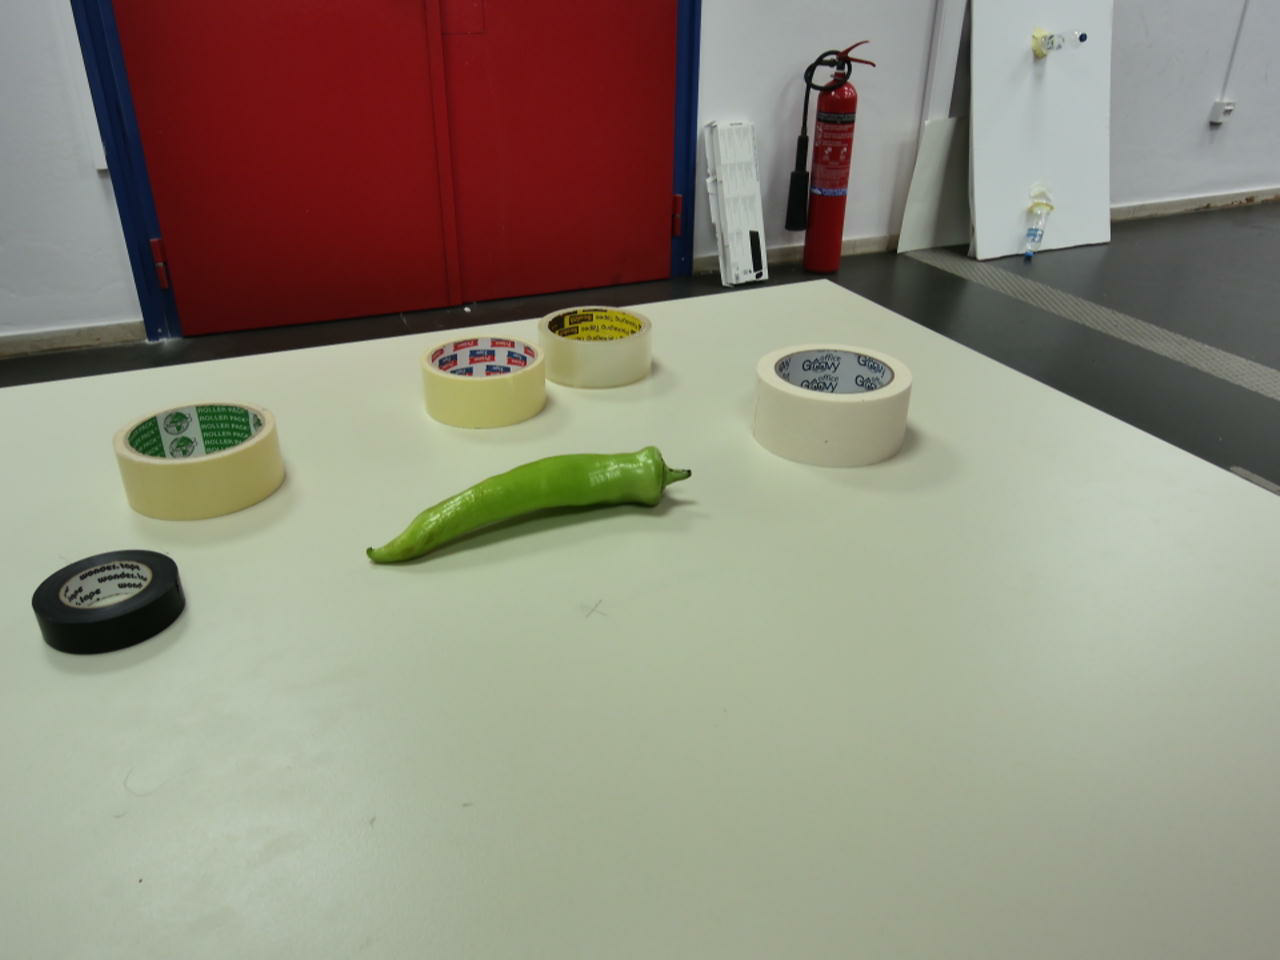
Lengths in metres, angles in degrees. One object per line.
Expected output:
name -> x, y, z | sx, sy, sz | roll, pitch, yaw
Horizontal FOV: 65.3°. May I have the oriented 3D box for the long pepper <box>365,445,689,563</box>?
long pepper -> -0.065, 0.009, 0.589 | 0.197, 0.038, 0.047 | -10, 28, -20
